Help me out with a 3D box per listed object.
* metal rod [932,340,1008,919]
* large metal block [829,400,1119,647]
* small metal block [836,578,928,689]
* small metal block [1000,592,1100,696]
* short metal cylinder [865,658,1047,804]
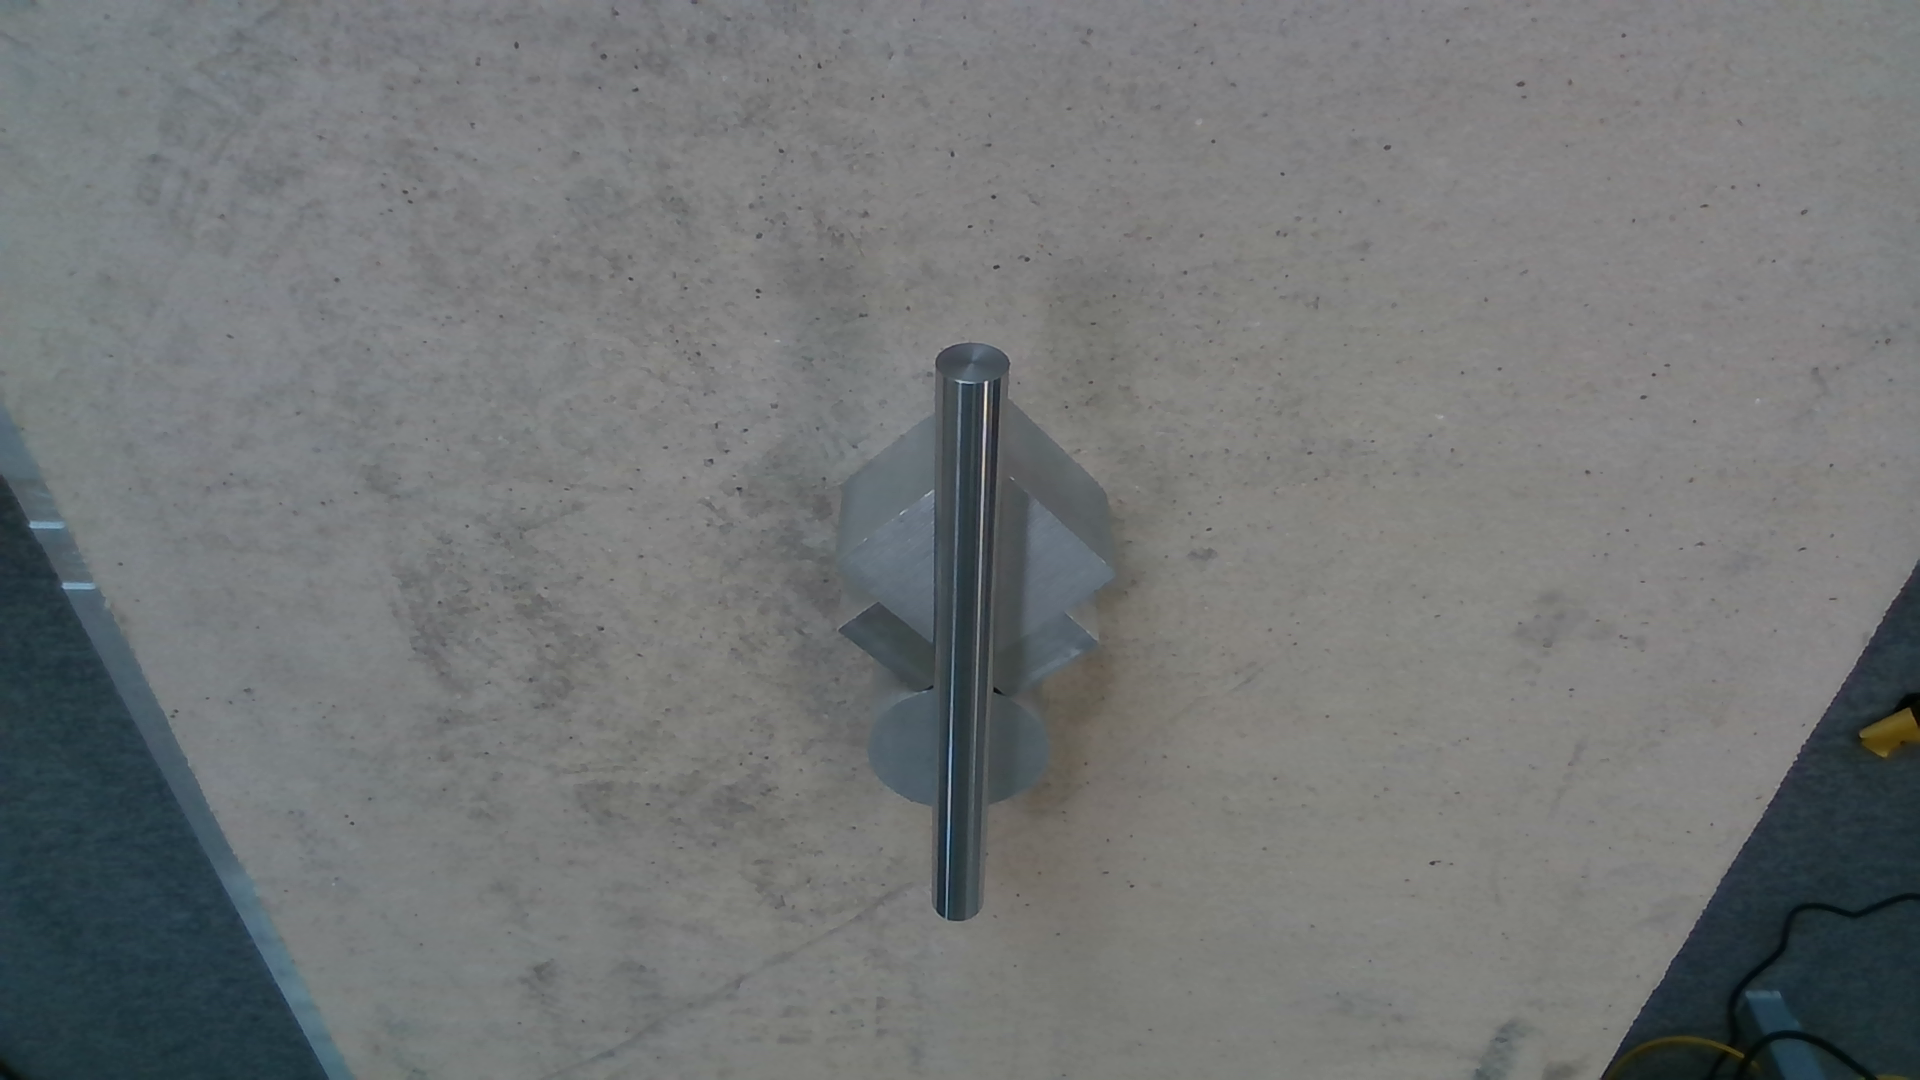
[{"bbox_3d":[0.001,0.055,0.558,0.025,0.025,0.301,1,130,-1],"label":"metal rod"},{"bbox_3d":[0.006,-0.005,0.557,0.080,0.050,0.080,-35,122,26],"label":"large metal block"},{"bbox_3d":[-0.025,0.027,0.587,0.025,0.050,0.050,-35,122,26],"label":"small metal block"},{"bbox_3d":[0.031,0.030,0.590,0.050,0.050,0.025,-35,122,26],"label":"small metal block"},{"bbox_3d":[-0.002,0.077,0.627,0.080,0.050,0.080,0,130,0],"label":"short metal cylinder"}]
